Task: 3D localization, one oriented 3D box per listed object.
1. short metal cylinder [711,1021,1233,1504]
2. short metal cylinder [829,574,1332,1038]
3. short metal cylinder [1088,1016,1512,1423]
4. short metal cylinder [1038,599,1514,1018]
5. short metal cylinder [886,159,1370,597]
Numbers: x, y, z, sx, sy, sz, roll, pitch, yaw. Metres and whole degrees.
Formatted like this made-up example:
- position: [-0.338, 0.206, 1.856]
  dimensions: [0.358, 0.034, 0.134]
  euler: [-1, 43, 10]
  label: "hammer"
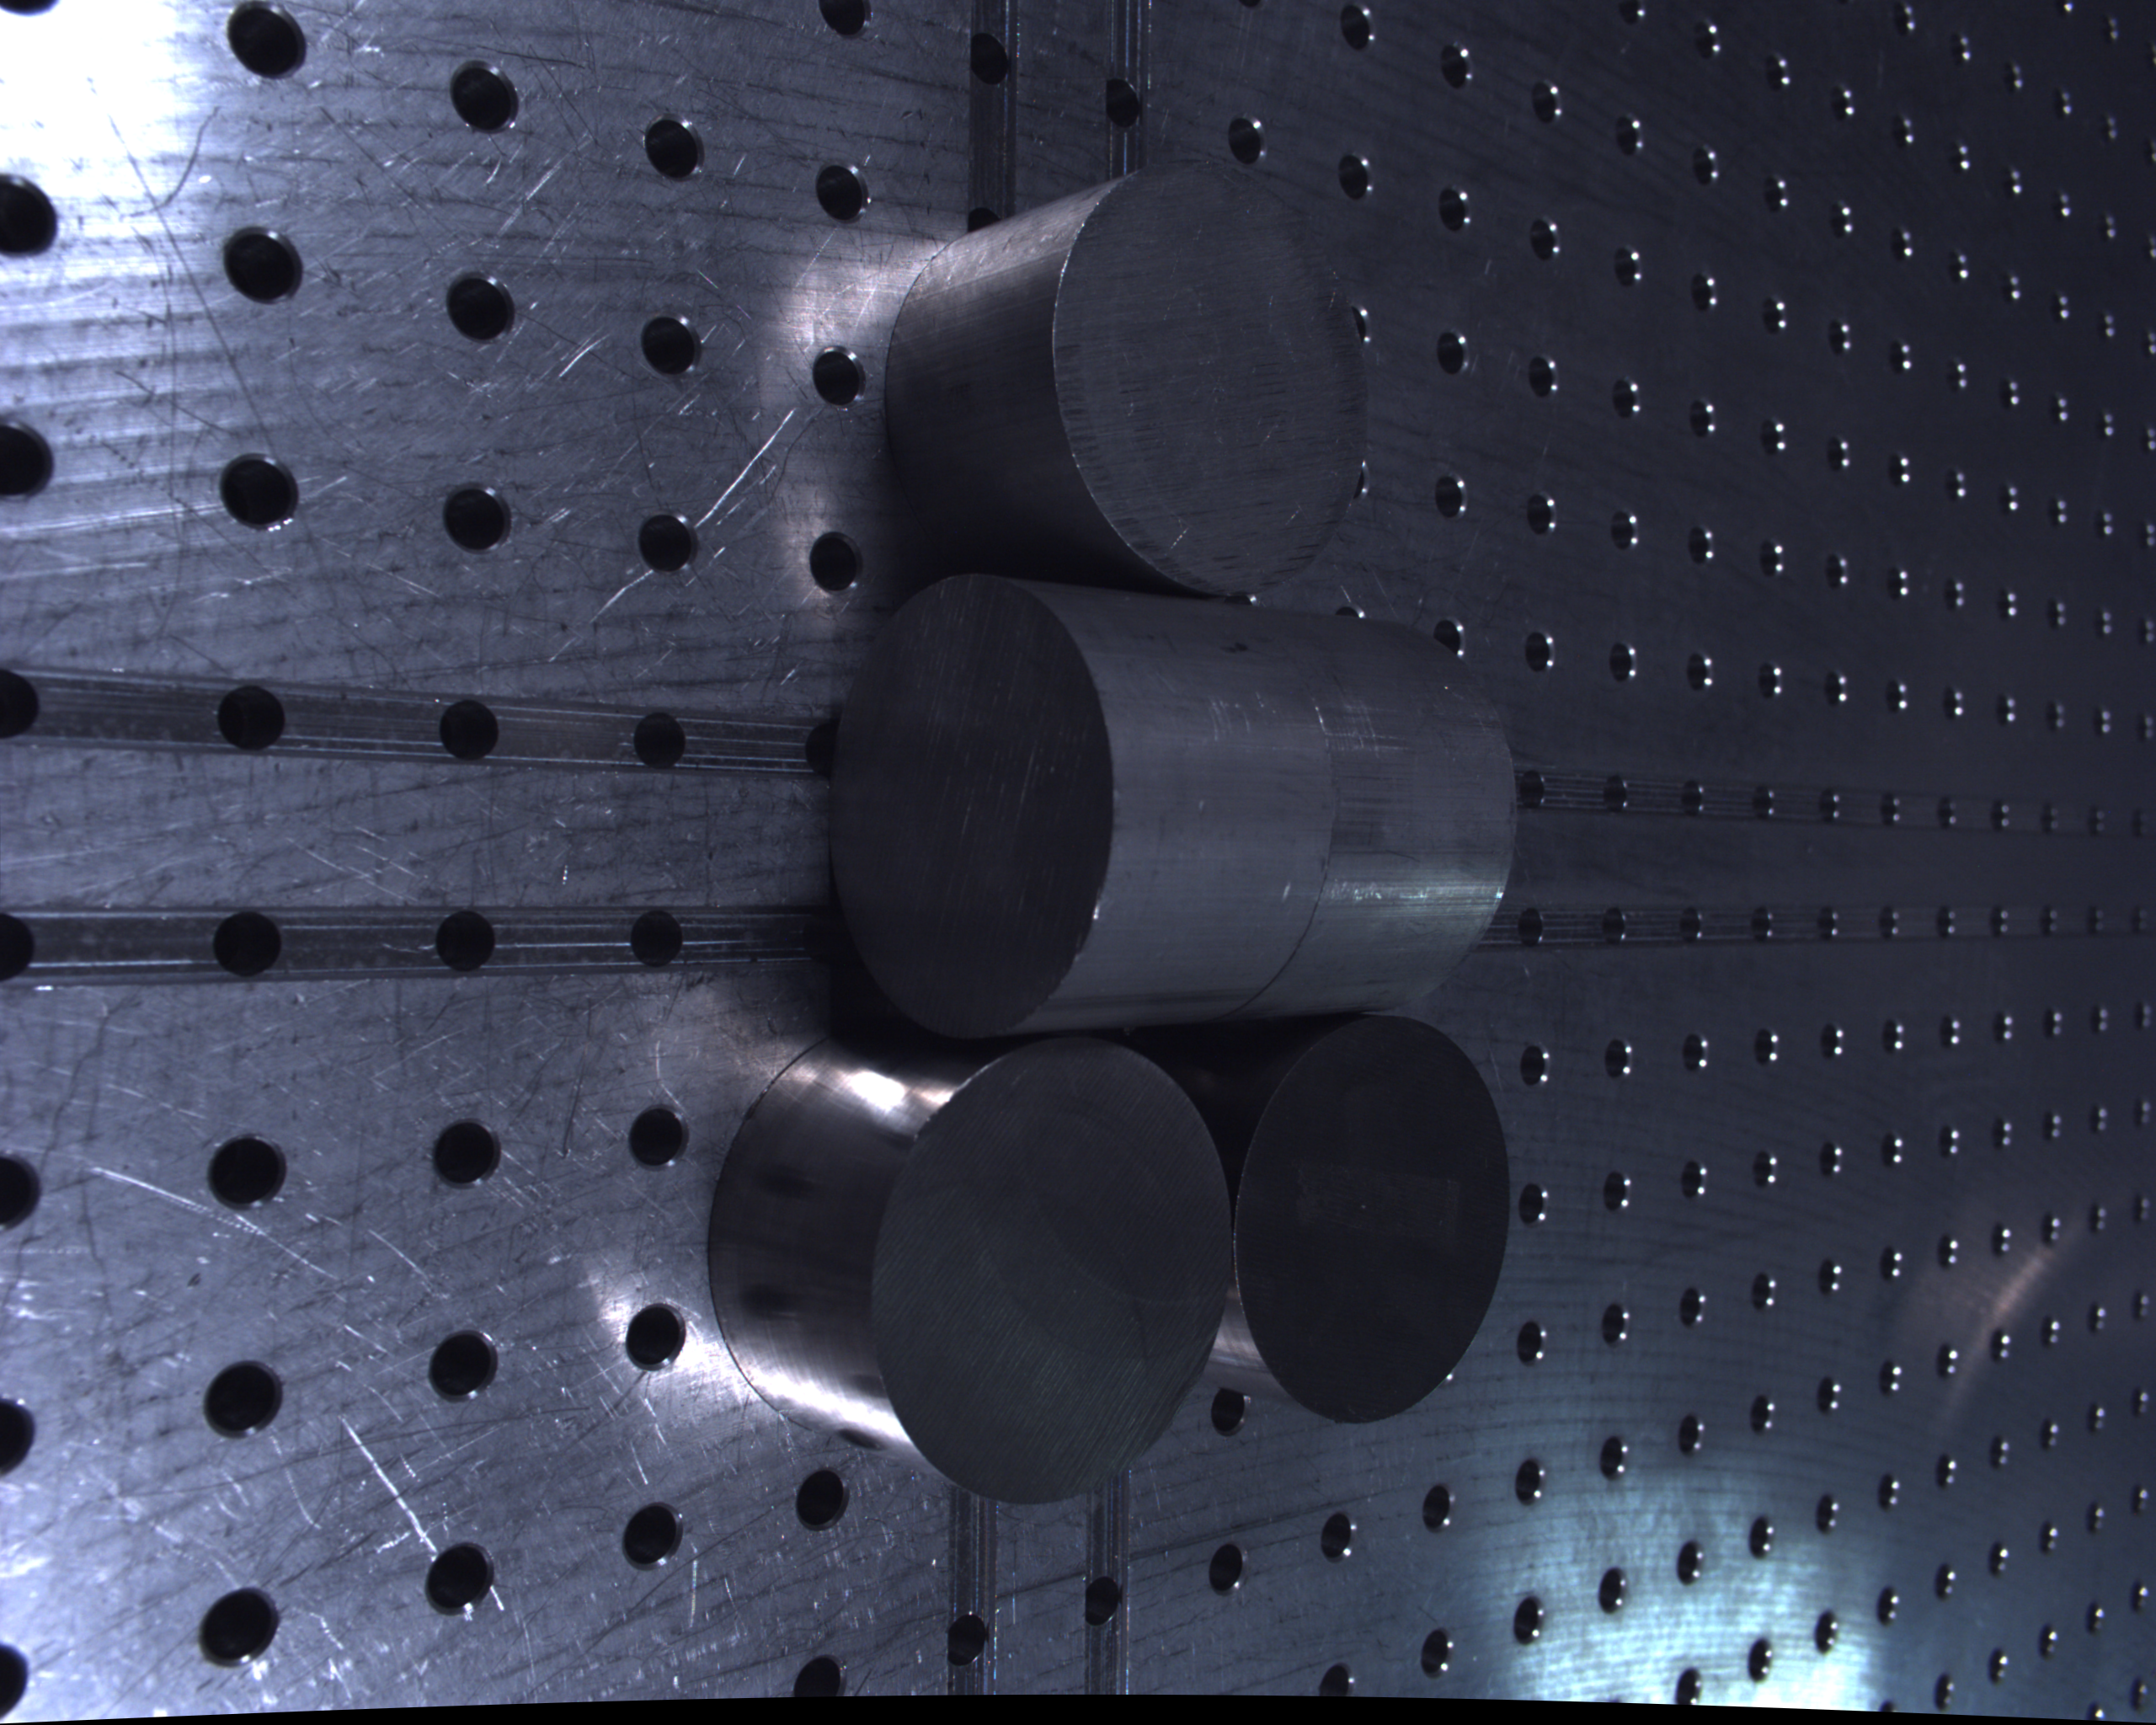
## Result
- position: [-0.018, 0.070, 0.378]
  dimensions: [0.081, 0.050, 0.079]
  euler: [0, 90, -40]
  label: "short metal cylinder"
- position: [-0.001, -0.010, 0.375]
  dimensions: [0.050, 0.080, 0.079]
  euler: [1, 90, -40]
  label: "short metal cylinder"
- position: [0.044, 0.070, 0.430]
  dimensions: [0.081, 0.050, 0.079]
  euler: [0, 90, -40]
  label: "short metal cylinder"
- position: [0.037, -0.010, 0.407]
  dimensions: [0.050, 0.080, 0.079]
  euler: [1, 90, -40]
  label: "short metal cylinder"
- position: [0.010, -0.089, 0.403]
  dimensions: [0.081, 0.050, 0.079]
  euler: [0, 90, -40]
  label: "short metal cylinder"
